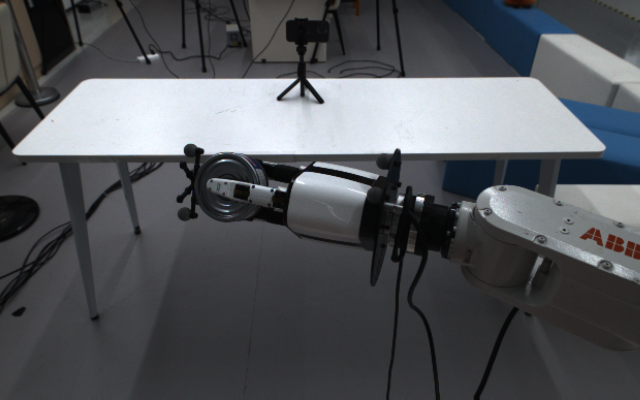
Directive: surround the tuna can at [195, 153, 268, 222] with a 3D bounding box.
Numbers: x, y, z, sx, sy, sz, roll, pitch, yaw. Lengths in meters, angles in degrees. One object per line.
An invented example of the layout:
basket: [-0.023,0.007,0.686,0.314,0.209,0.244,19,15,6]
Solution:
tuna can: [-0.106,-0.017,0.593,0.085,0.085,0.034,10,2,11]
